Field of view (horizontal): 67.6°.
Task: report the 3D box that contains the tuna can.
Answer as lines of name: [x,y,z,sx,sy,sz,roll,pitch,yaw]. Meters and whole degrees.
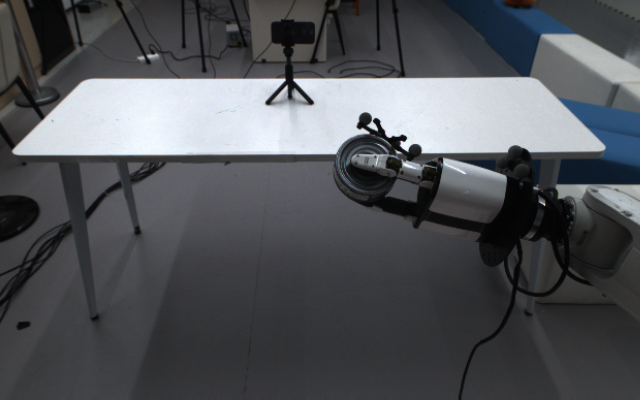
tuna can: [0.065,-0.036,0.635,0.085,0.034,0.085,0,74,0]
